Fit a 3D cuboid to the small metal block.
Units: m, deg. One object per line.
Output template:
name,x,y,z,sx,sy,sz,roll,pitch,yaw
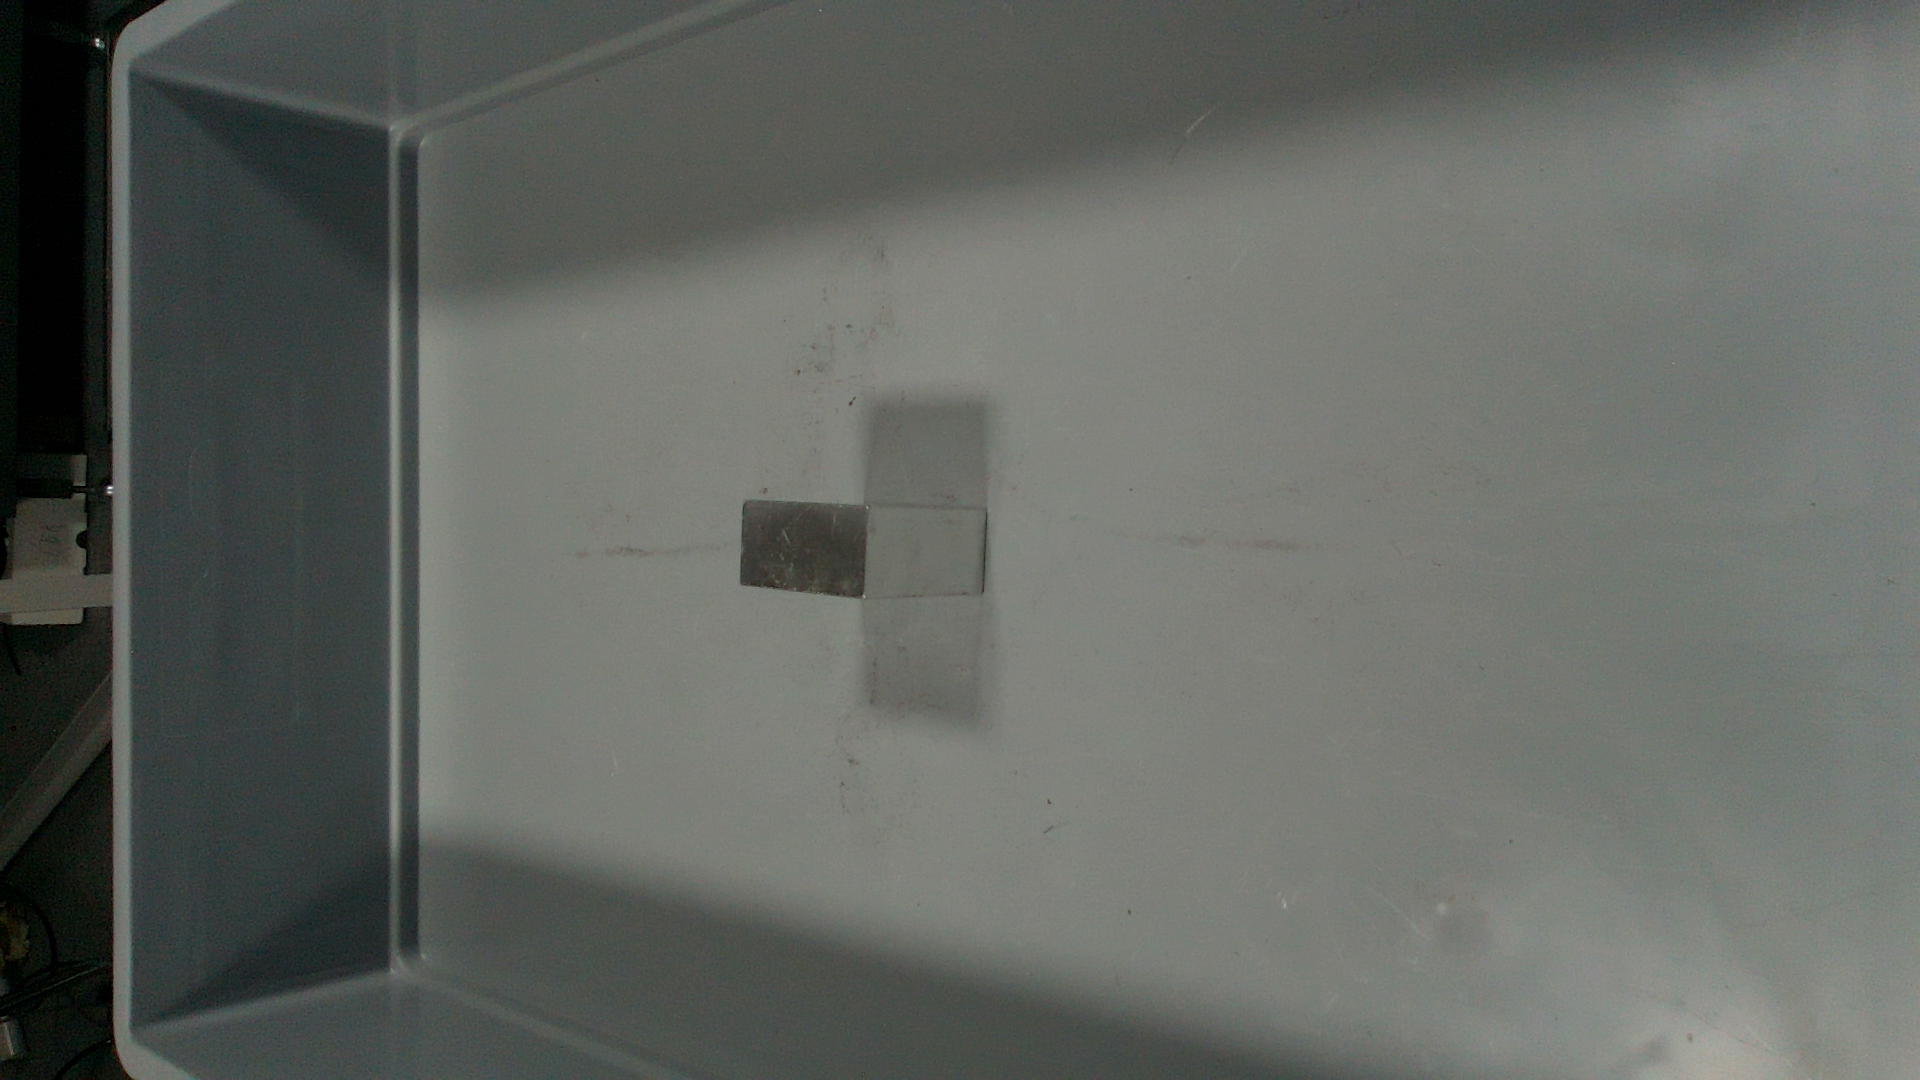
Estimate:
small metal block,-0.028,0.002,0.398,0.050,0.050,0.025,4,92,40
